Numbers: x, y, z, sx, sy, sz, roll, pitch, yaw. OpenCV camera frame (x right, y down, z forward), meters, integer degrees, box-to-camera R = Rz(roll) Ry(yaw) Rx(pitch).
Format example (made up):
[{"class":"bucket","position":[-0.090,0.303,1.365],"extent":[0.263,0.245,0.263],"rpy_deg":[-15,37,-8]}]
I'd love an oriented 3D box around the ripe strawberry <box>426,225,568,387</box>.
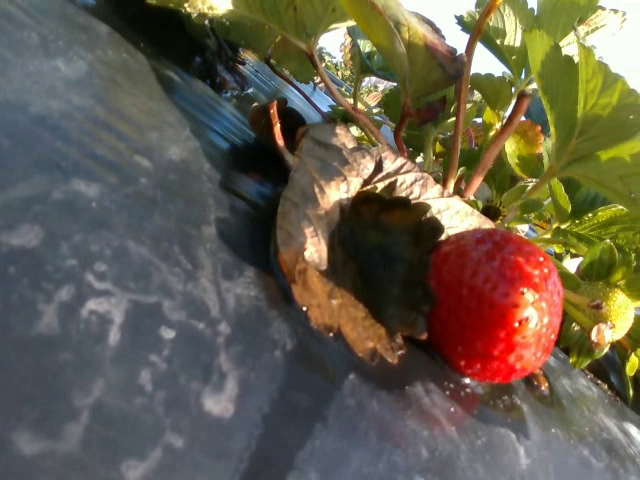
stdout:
[{"class":"ripe strawberry","position":[0.036,0.016,0.119],"extent":[0.037,0.047,0.054],"rpy_deg":[-36,-4,10]}]
